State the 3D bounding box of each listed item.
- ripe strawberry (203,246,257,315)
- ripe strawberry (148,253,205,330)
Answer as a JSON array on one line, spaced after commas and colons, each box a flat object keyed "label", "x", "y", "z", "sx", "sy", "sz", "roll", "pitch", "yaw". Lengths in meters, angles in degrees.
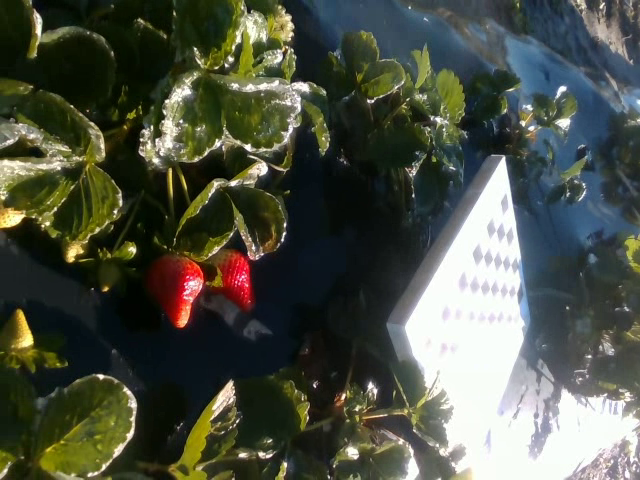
[{"label": "ripe strawberry", "x": -0.072, "y": 0.034, "z": 0.522, "sx": 0.040, "sy": 0.059, "sz": 0.044, "roll": 2, "pitch": 39, "yaw": 41}, {"label": "ripe strawberry", "x": -0.112, "y": 0.044, "z": 0.487, "sx": 0.040, "sy": 0.070, "sz": 0.052, "roll": -1, "pitch": -9, "yaw": 30}]
